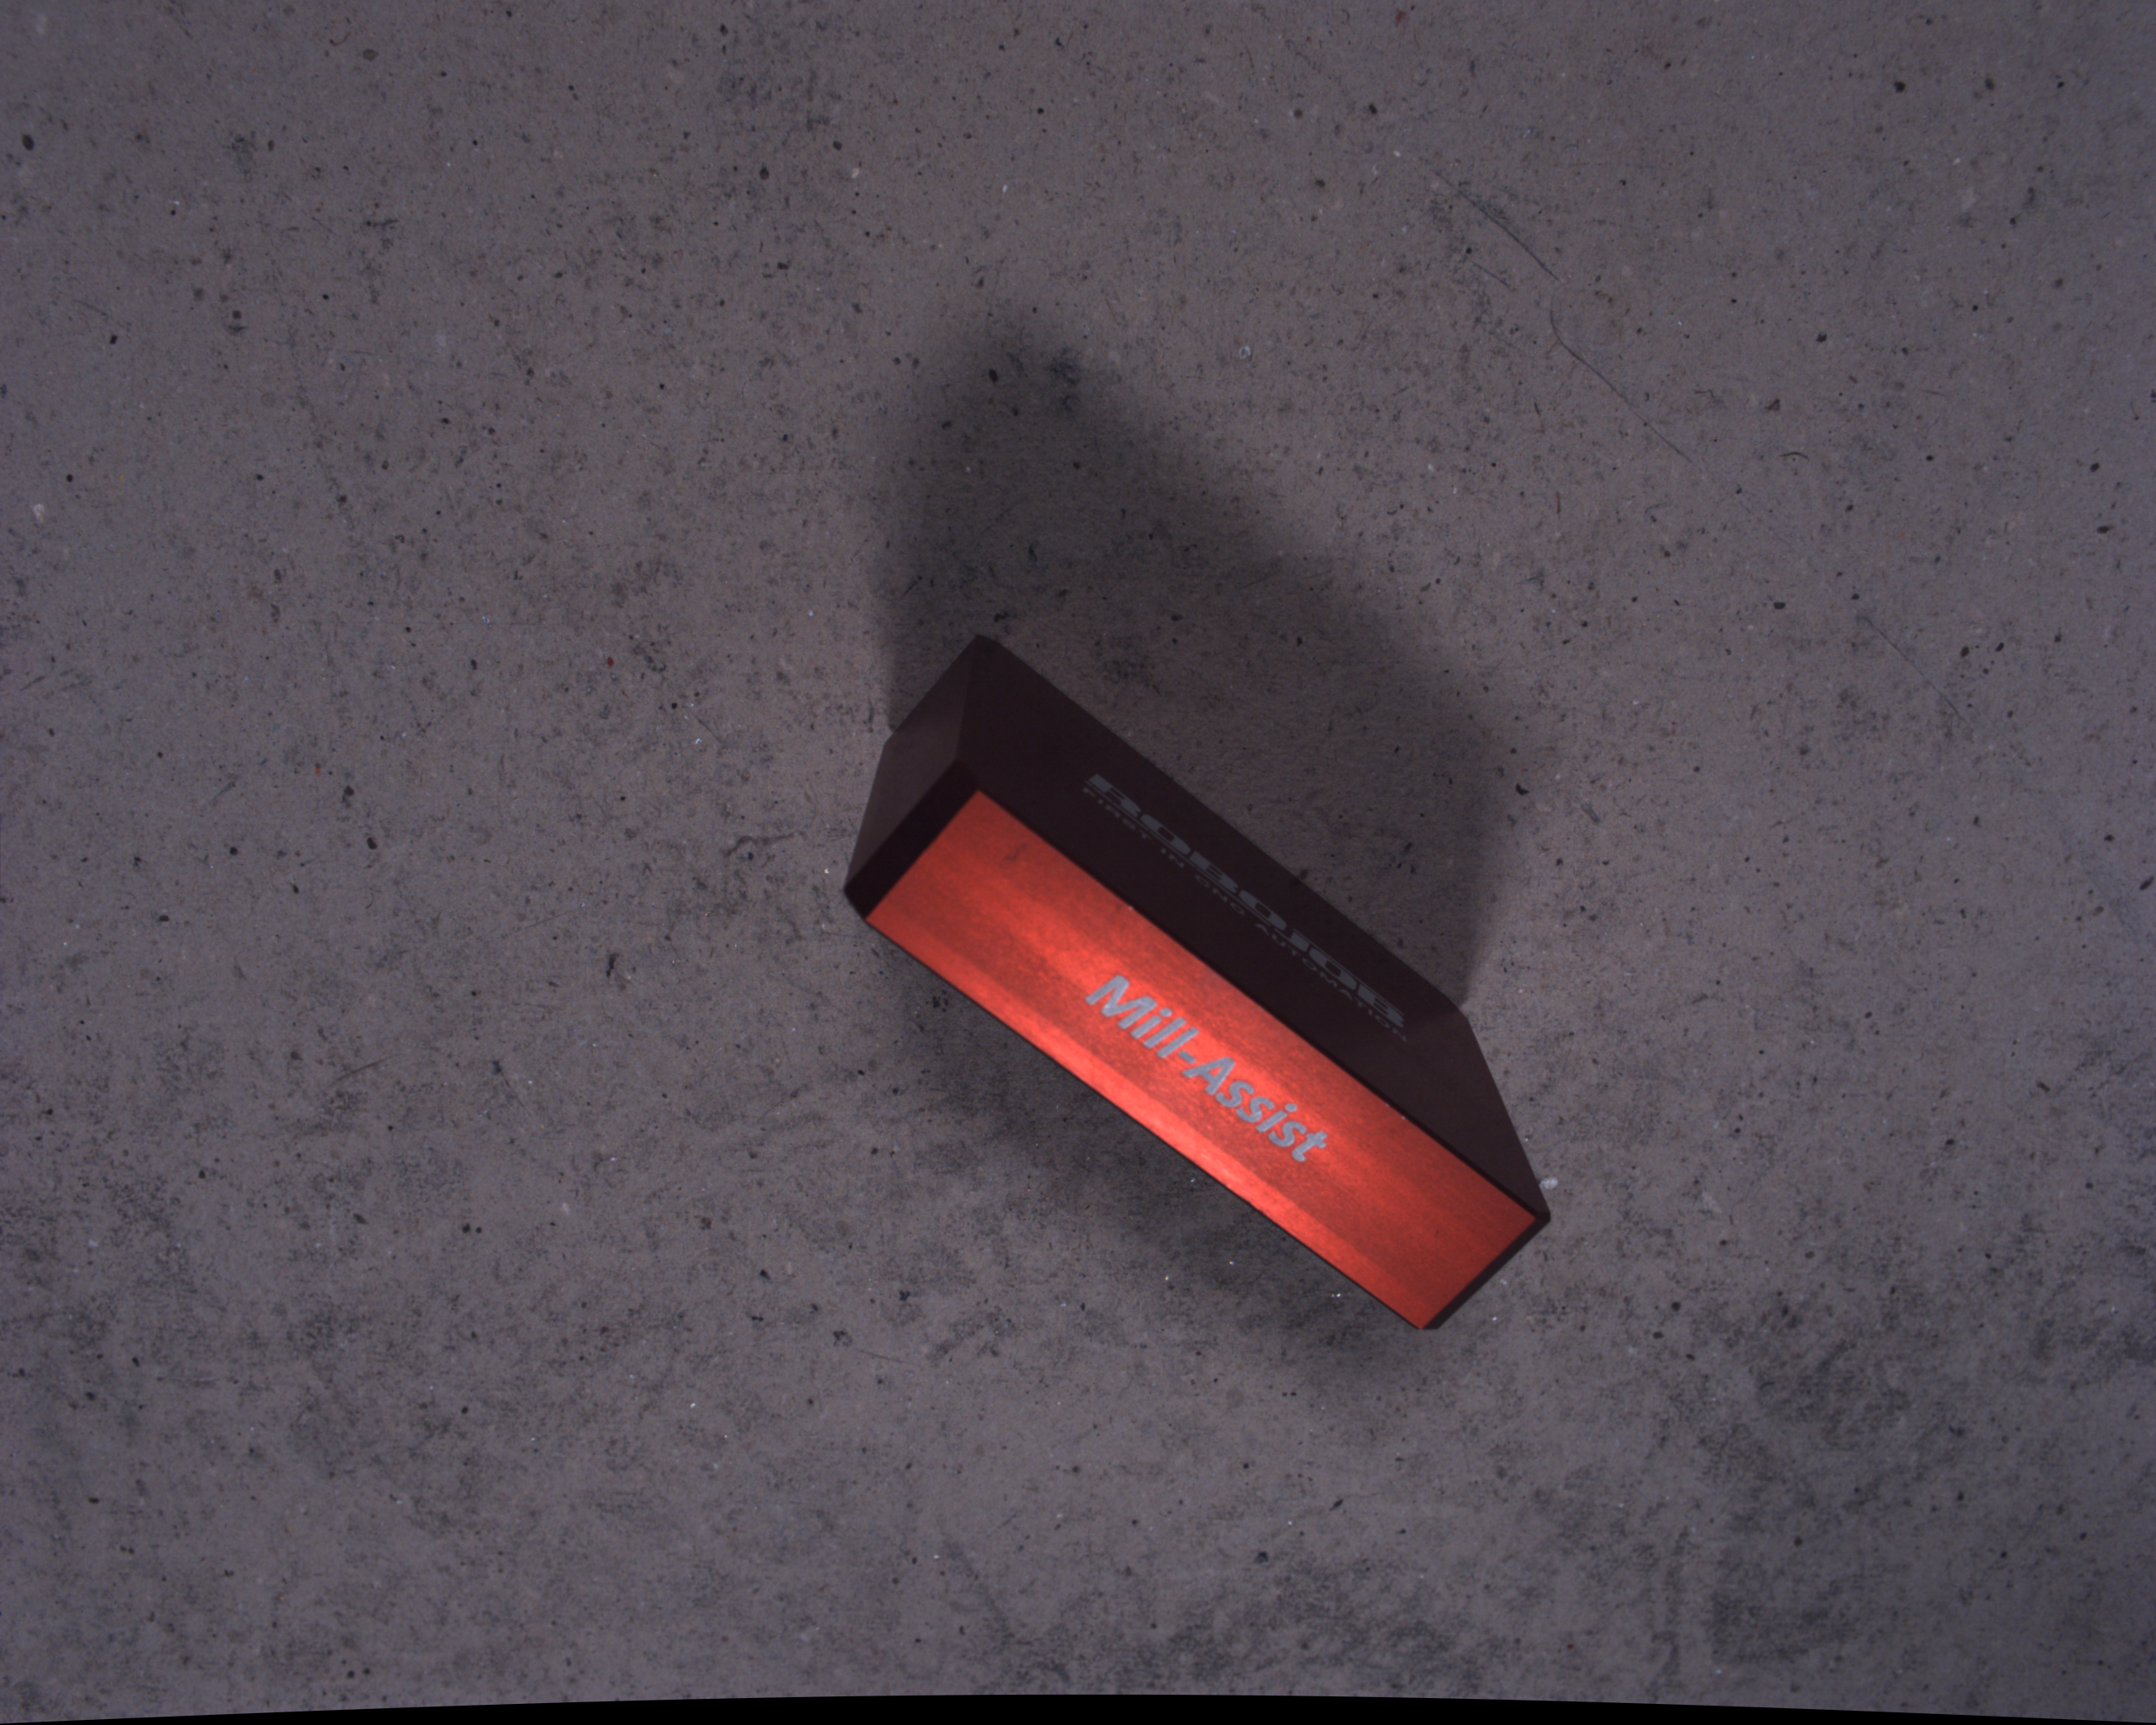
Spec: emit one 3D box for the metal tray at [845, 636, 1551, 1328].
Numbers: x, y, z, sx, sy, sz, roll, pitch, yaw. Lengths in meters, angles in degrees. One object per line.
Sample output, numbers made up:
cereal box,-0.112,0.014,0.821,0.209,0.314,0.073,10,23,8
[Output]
metal tray,0.022,0.019,0.384,0.130,0.090,0.030,38,106,-13
